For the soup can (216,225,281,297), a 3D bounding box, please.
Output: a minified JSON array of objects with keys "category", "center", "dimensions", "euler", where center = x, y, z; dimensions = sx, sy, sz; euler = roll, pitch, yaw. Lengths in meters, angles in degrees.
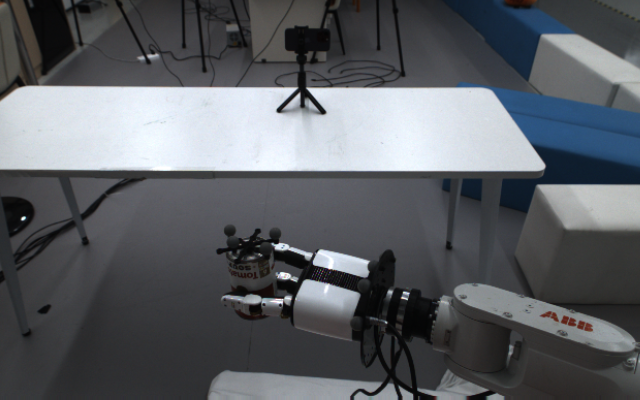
[{"category":"soup can","center":[-0.095,0.113,0.702],"dimensions":[0.067,0.101,0.067],"euler":[-3,27,2]}]
